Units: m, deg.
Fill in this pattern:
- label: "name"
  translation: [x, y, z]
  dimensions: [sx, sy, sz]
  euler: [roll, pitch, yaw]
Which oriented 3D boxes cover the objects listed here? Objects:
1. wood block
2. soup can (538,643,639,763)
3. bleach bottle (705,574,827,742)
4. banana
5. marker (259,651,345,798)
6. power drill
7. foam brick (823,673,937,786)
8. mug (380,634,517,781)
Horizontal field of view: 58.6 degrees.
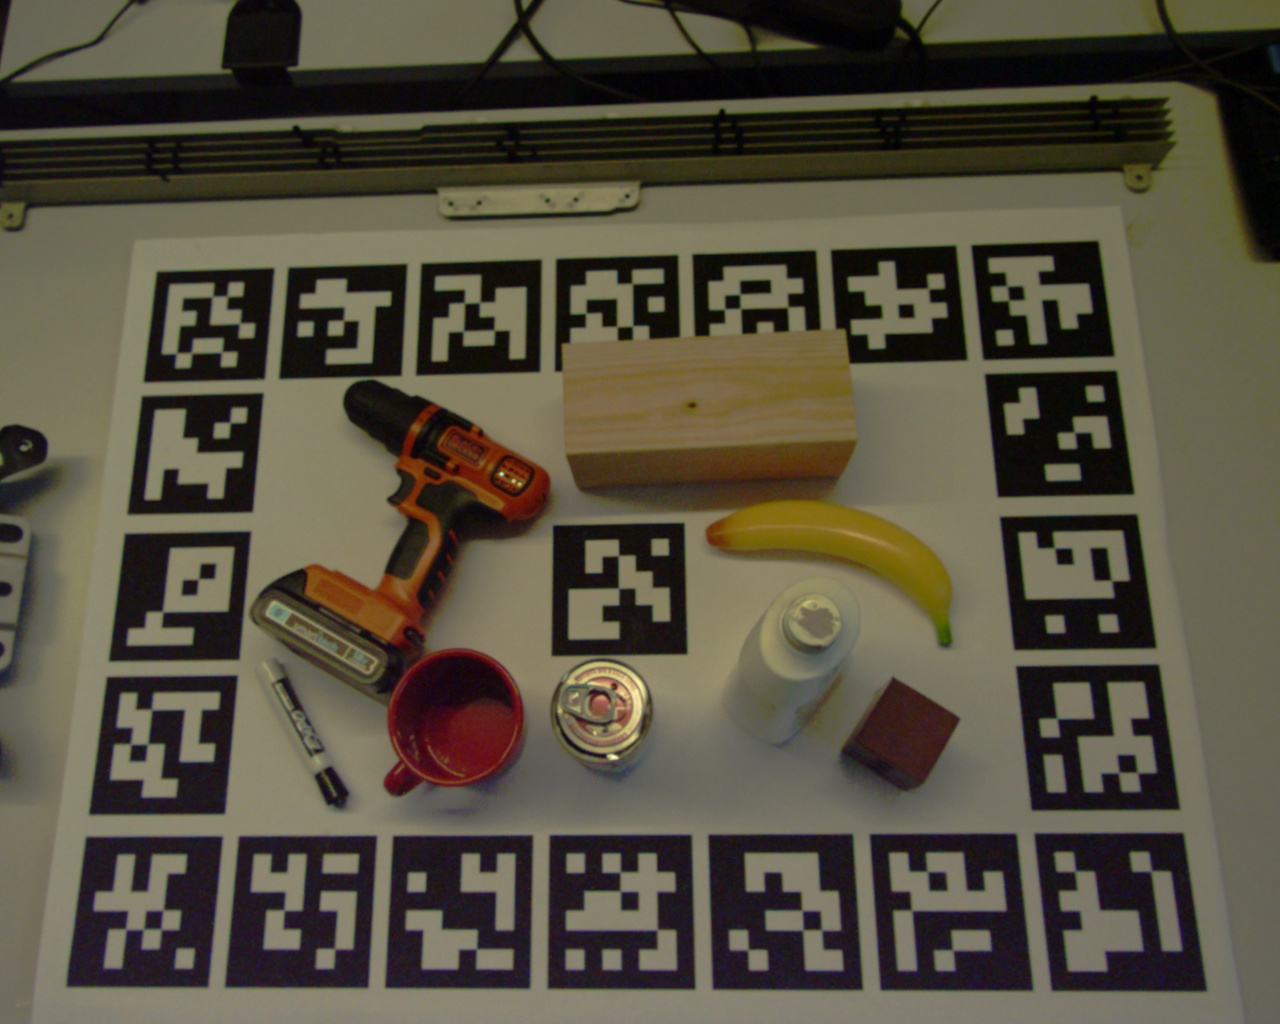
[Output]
- label: "wood block"
  translation: [0.044, -0.072, 0.887]
  dimensions: [0.206, 0.090, 0.090]
  euler: [-2, 74, 2]
- label: "soup can"
  translation: [-0.035, 0.139, 0.812]
  dimensions: [0.068, 0.102, 0.068]
  euler: [0, 69, 0]
- label: "bleach bottle"
  translation: [0.088, 0.088, 0.750]
  dimensions: [0.068, 0.250, 0.102]
  euler: [28, 75, 10]
- label: "banana"
  translation: [0.126, 0.019, 0.877]
  dimensions: [0.198, 0.039, 0.074]
  euler: [15, 88, 5]
- label: "marker"
  translation: [-0.257, 0.162, 0.869]
  dimensions: [0.019, 0.019, 0.122]
  euler: [-30, 74, -4]
- label: "power drill"
  translation: [-0.190, 0.014, 0.894]
  dimensions: [0.185, 0.057, 0.186]
  euler: [28, 75, 8]
- label: "foam brick"
  translation: [0.170, 0.157, 0.816]
  dimensions: [0.053, 0.078, 0.051]
  euler: [32, 75, 13]
- label: "mug"
  translation: [-0.142, 0.149, 0.831]
  dimensions: [0.094, 0.081, 0.117]
  euler: [42, 82, 11]
